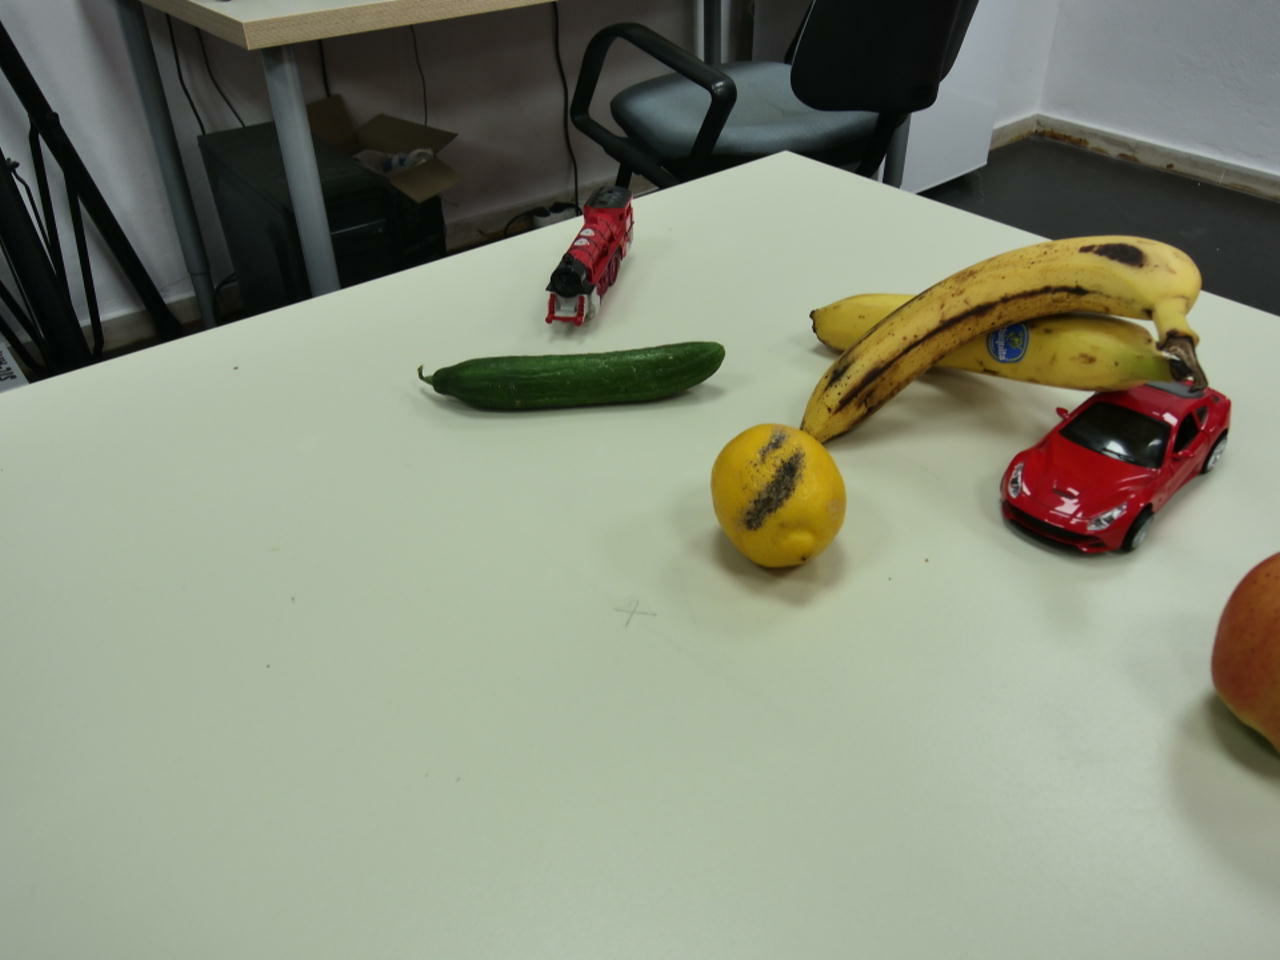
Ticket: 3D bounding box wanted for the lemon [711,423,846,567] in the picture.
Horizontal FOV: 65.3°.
[{"bbox_3d":[0.059,0.006,0.426,0.061,0.056,0.058,29,44,36],"label":"lemon"}]
